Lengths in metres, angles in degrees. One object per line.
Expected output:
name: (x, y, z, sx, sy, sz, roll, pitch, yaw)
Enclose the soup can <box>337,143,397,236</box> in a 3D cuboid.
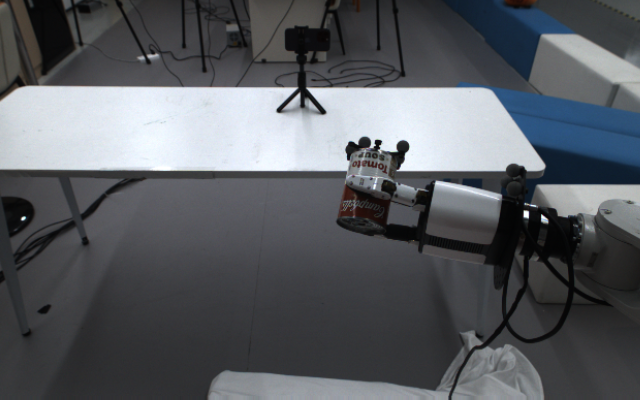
soup can: (0.066, -0.013, 0.658, 0.067, 0.067, 0.101, 9, 72, 10)
